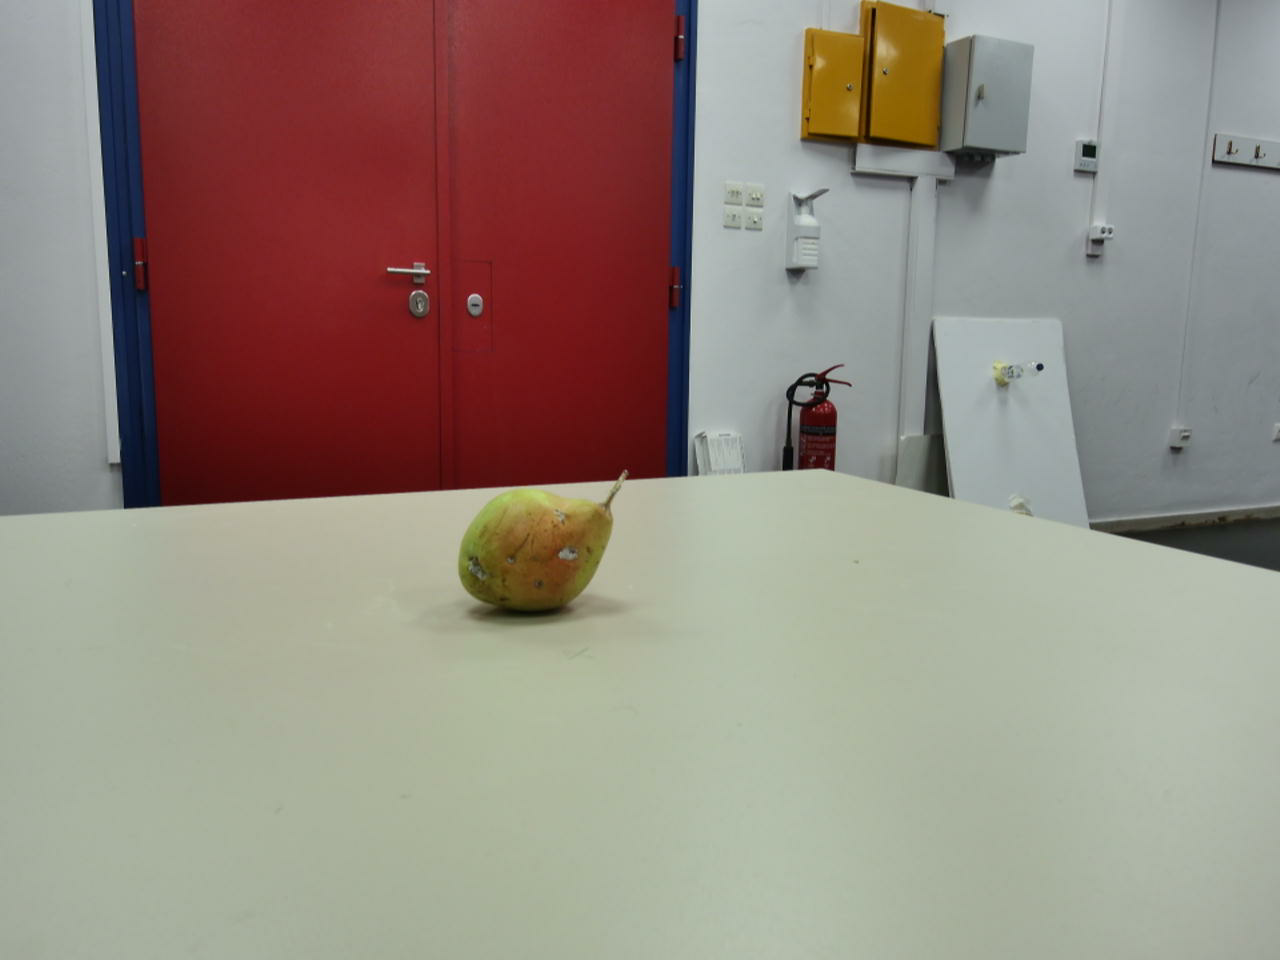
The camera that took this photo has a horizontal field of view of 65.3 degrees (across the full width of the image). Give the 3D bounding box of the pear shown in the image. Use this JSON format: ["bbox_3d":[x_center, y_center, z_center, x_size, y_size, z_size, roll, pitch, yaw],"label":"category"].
[{"bbox_3d":[-0.052,0.031,0.506,0.070,0.069,0.068,3,7,26],"label":"pear"}]
